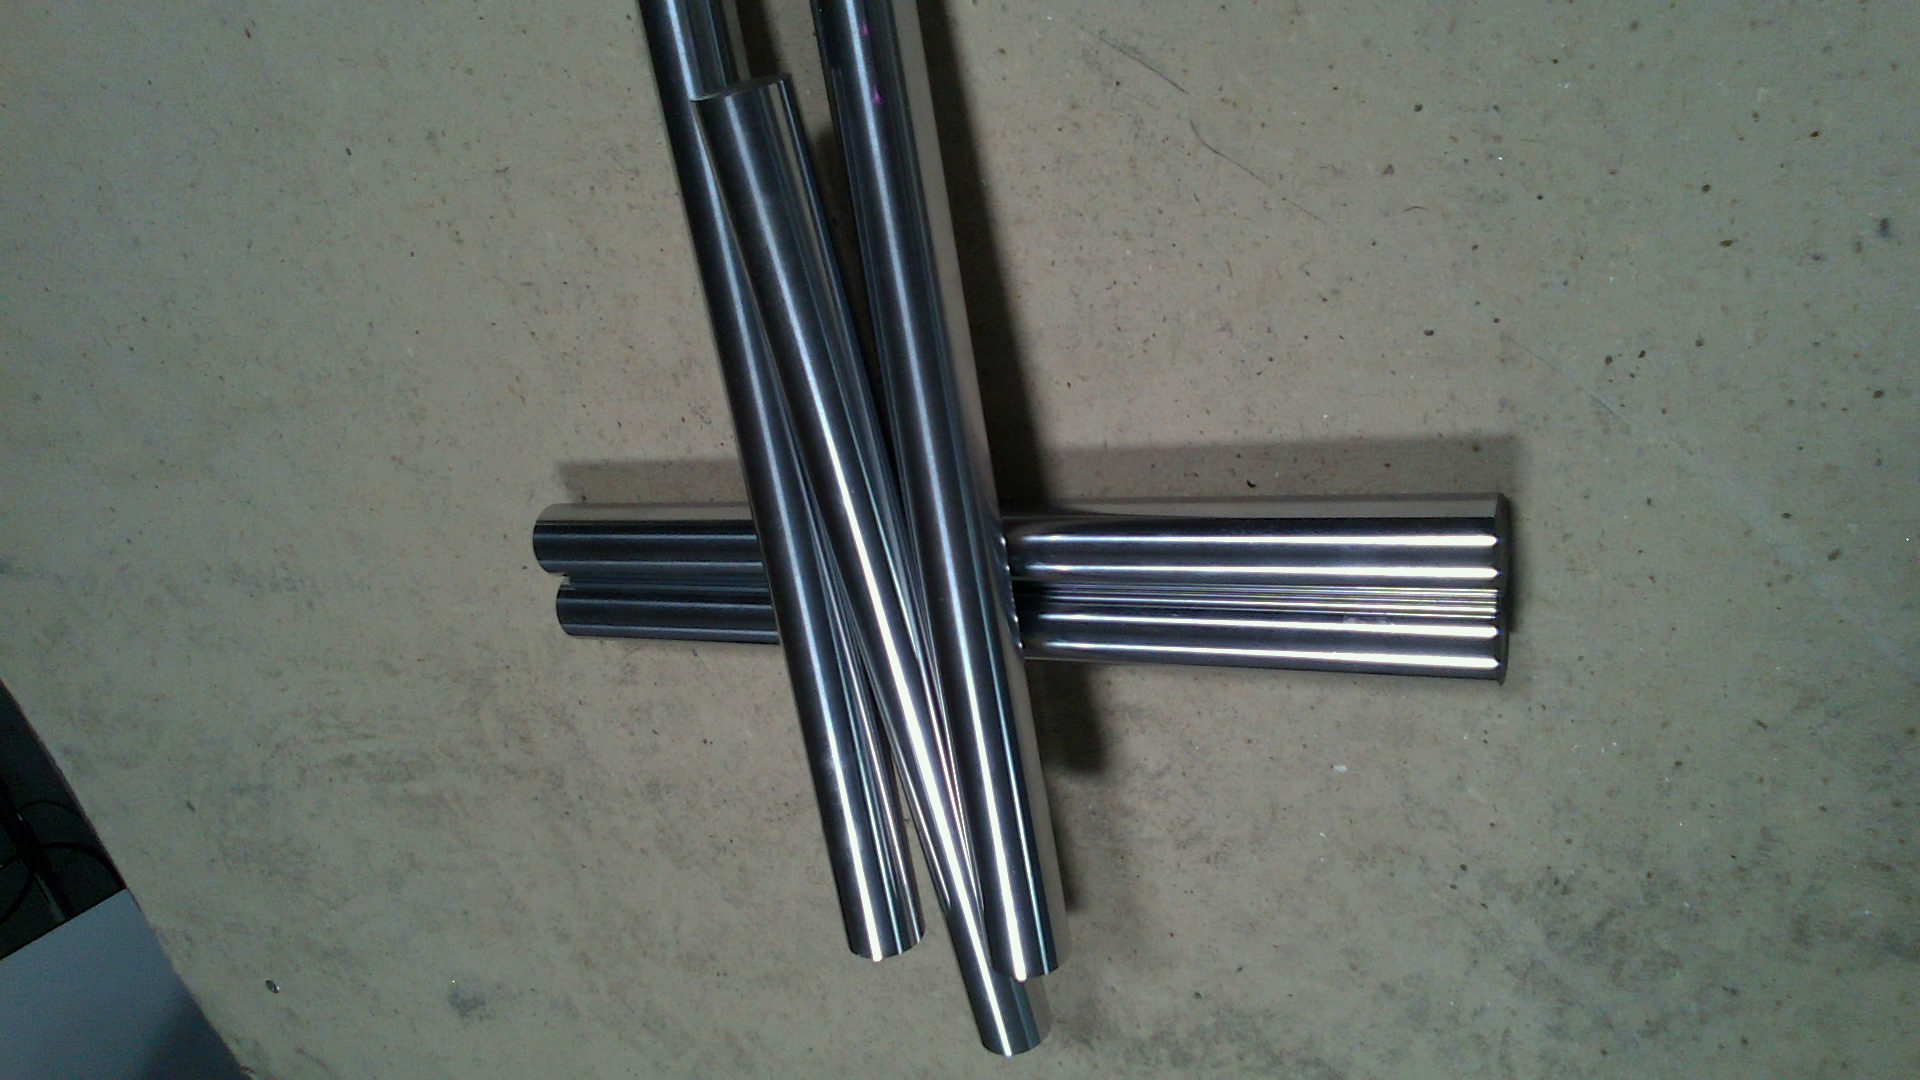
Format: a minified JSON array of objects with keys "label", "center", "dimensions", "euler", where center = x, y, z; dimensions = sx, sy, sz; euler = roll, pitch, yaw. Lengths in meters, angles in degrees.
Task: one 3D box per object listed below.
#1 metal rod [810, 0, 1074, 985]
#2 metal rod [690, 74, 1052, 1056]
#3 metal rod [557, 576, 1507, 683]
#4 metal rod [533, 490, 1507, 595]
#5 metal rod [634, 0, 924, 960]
[{"label":"metal rod","center":[-0.004,-0.018,0.356],"dimensions":[0.025,0.025,0.300],"euler":[0,111,28]},{"label":"metal rod","center":[-0.017,0.026,0.385],"dimensions":[0.025,0.025,0.300],"euler":[0,118,29]},{"label":"metal rod","center":[0.001,0.022,0.407],"dimensions":[0.299,0.025,0.025],"euler":[0,119,28]},{"label":"metal rod","center":[-0.004,0.000,0.396],"dimensions":[0.299,0.025,0.025],"euler":[0,119,28]},{"label":"metal rod","center":[-0.048,-0.018,0.381],"dimensions":[0.025,0.025,0.300],"euler":[0,111,28]}]
